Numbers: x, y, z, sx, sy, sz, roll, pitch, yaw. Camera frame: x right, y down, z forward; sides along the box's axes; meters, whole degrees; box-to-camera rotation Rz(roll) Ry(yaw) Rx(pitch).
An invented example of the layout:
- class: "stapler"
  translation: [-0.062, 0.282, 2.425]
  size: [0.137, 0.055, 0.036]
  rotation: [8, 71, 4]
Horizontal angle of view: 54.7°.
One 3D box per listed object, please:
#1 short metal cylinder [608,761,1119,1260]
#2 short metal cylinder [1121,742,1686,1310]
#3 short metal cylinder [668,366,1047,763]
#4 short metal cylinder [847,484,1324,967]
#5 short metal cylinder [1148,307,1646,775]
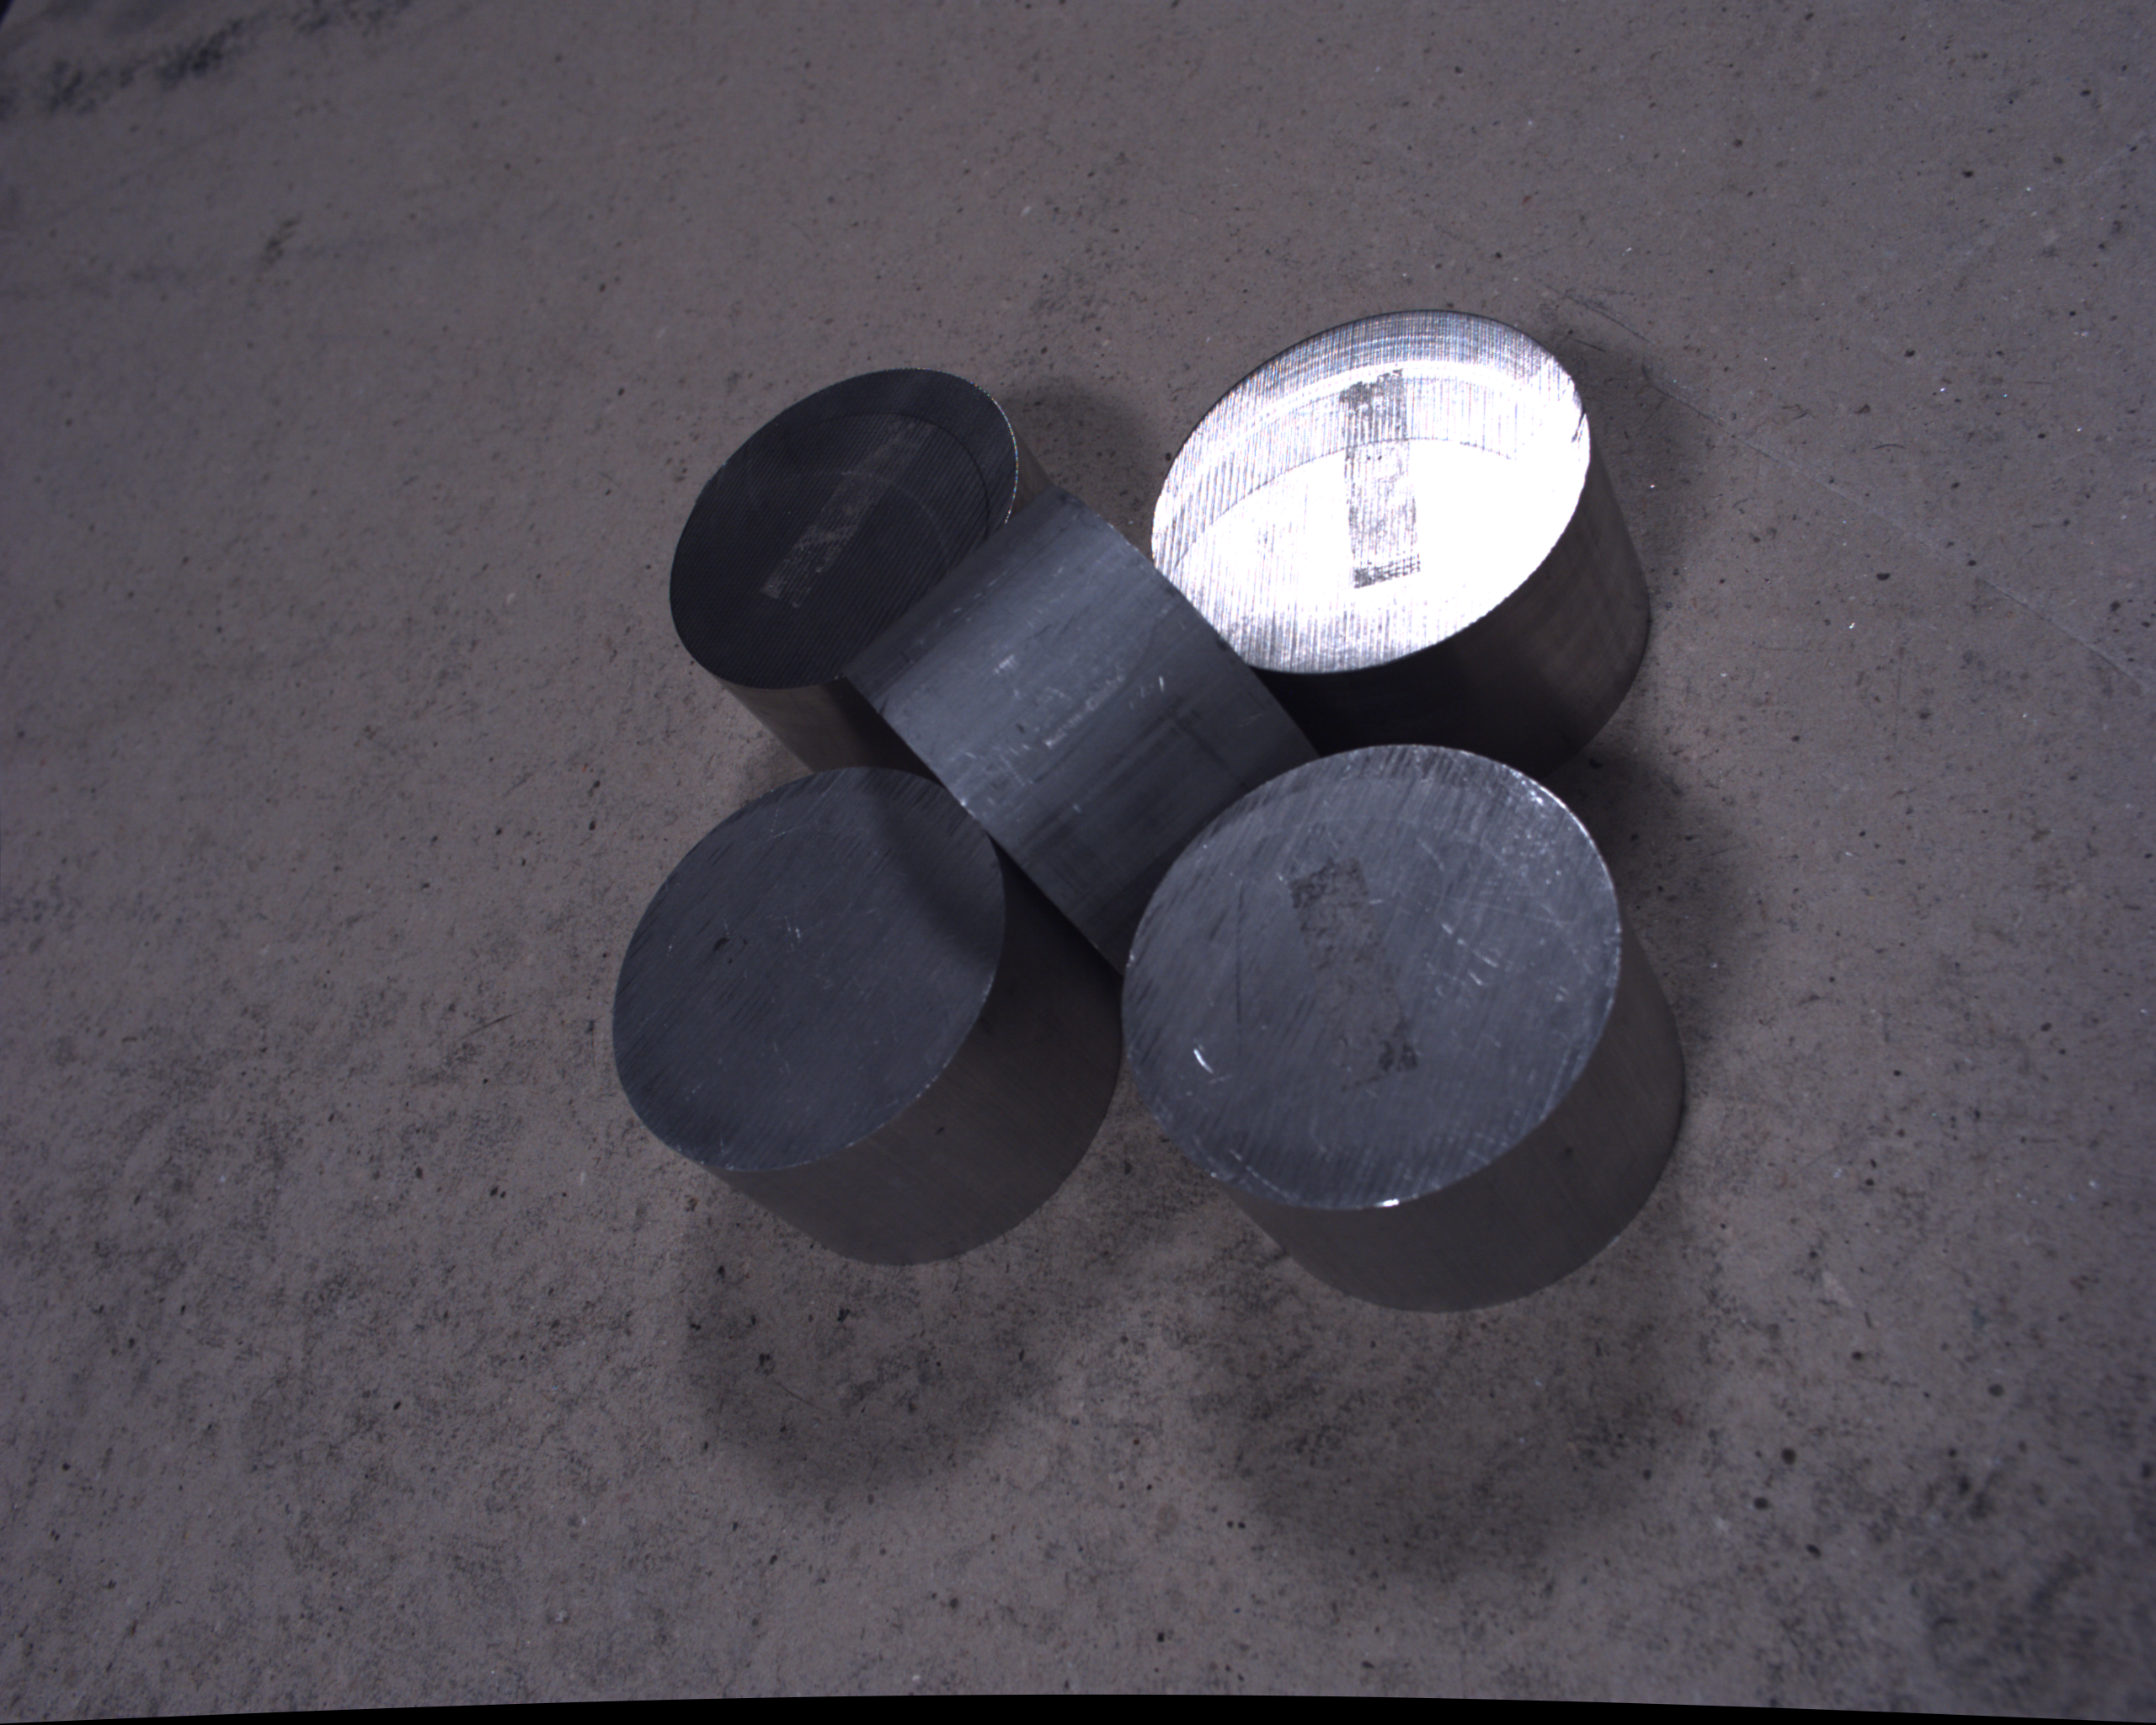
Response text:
- class: "short metal cylinder"
  translation: [-0.039, 0.028, 0.390]
  size: [0.080, 0.050, 0.080]
  rotation: [-13, 56, 20]
- class: "short metal cylinder"
  translation: [0.054, 0.027, 0.342]
  size: [0.080, 0.050, 0.080]
  rotation: [-13, 56, 20]
- class: "short metal cylinder"
  translation: [-0.039, -0.058, 0.442]
  size: [0.080, 0.050, 0.080]
  rotation: [-13, 56, 20]
- class: "short metal cylinder"
  translation: [0.004, -0.022, 0.381]
  size: [0.050, 0.080, 0.080]
  rotation: [-43, 51, -1]
- class: "short metal cylinder"
  translation: [0.060, -0.056, 0.389]
  size: [0.080, 0.050, 0.080]
  rotation: [-13, 56, 20]
